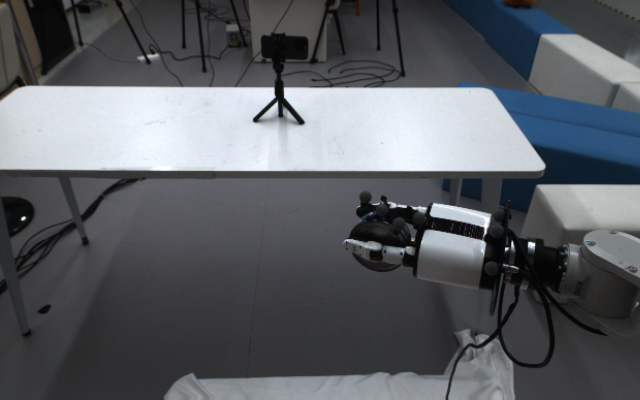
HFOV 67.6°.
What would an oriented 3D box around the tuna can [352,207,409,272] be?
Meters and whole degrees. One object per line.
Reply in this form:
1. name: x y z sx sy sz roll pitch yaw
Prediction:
1. tuna can: 0.090 0.058 0.700 0.085 0.085 0.034 16 28 19
